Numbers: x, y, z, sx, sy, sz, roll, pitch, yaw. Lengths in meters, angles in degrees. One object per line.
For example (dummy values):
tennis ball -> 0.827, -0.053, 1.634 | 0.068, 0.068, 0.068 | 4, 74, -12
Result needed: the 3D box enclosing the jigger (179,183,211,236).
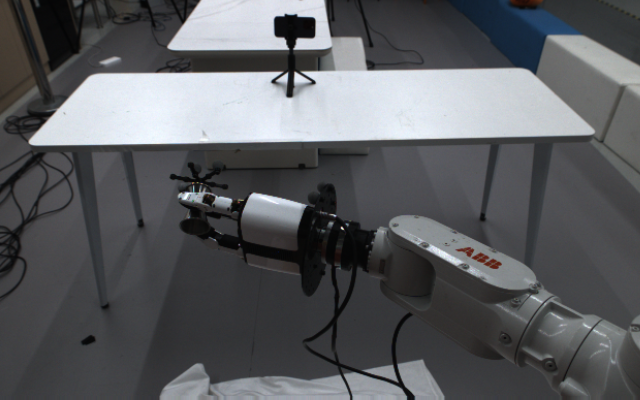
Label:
jigger -> -0.185, 0.012, 0.721 | 0.043, 0.043, 0.071 | -1, 53, -5
